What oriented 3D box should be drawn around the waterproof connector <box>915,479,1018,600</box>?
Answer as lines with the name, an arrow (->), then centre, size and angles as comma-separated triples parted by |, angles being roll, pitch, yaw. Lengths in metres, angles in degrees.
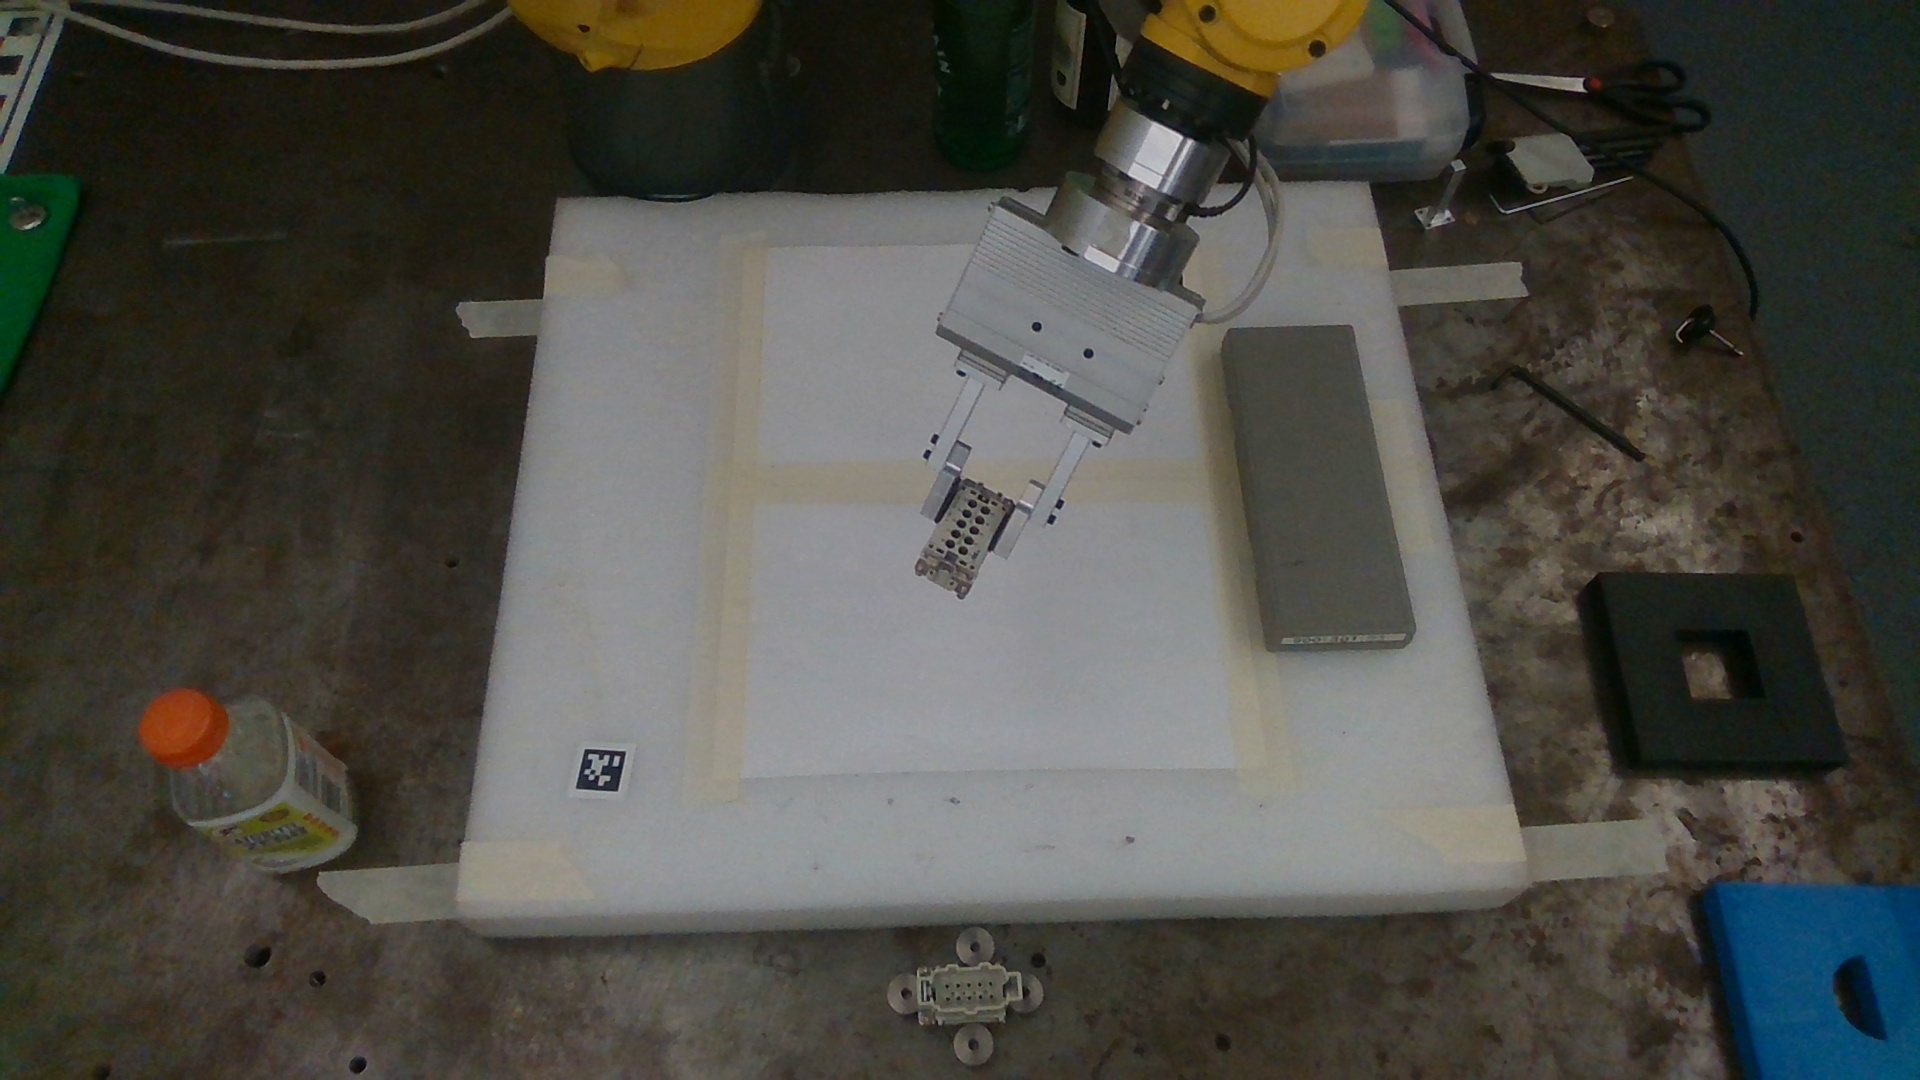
waterproof connector -> 0.003, -0.002, 0.801 | 0.037, 0.038, 0.069 | 28, 73, 2
